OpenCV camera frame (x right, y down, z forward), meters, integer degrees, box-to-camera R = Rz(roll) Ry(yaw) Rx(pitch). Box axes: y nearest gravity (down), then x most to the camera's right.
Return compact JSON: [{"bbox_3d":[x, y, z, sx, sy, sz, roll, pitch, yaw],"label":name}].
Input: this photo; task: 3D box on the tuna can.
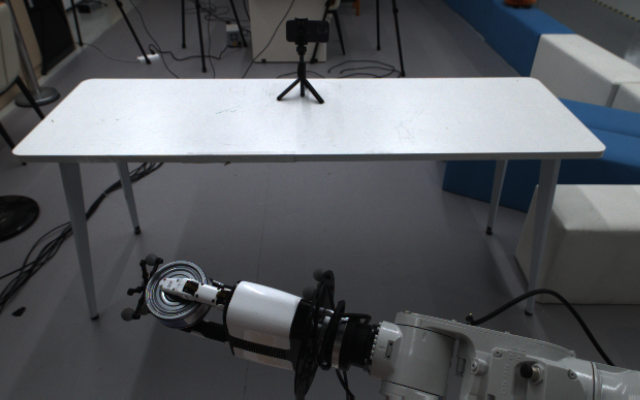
[{"bbox_3d":[-0.185,0.126,0.647,0.085,0.034,0.085,-2,58,3],"label":"tuna can"}]
